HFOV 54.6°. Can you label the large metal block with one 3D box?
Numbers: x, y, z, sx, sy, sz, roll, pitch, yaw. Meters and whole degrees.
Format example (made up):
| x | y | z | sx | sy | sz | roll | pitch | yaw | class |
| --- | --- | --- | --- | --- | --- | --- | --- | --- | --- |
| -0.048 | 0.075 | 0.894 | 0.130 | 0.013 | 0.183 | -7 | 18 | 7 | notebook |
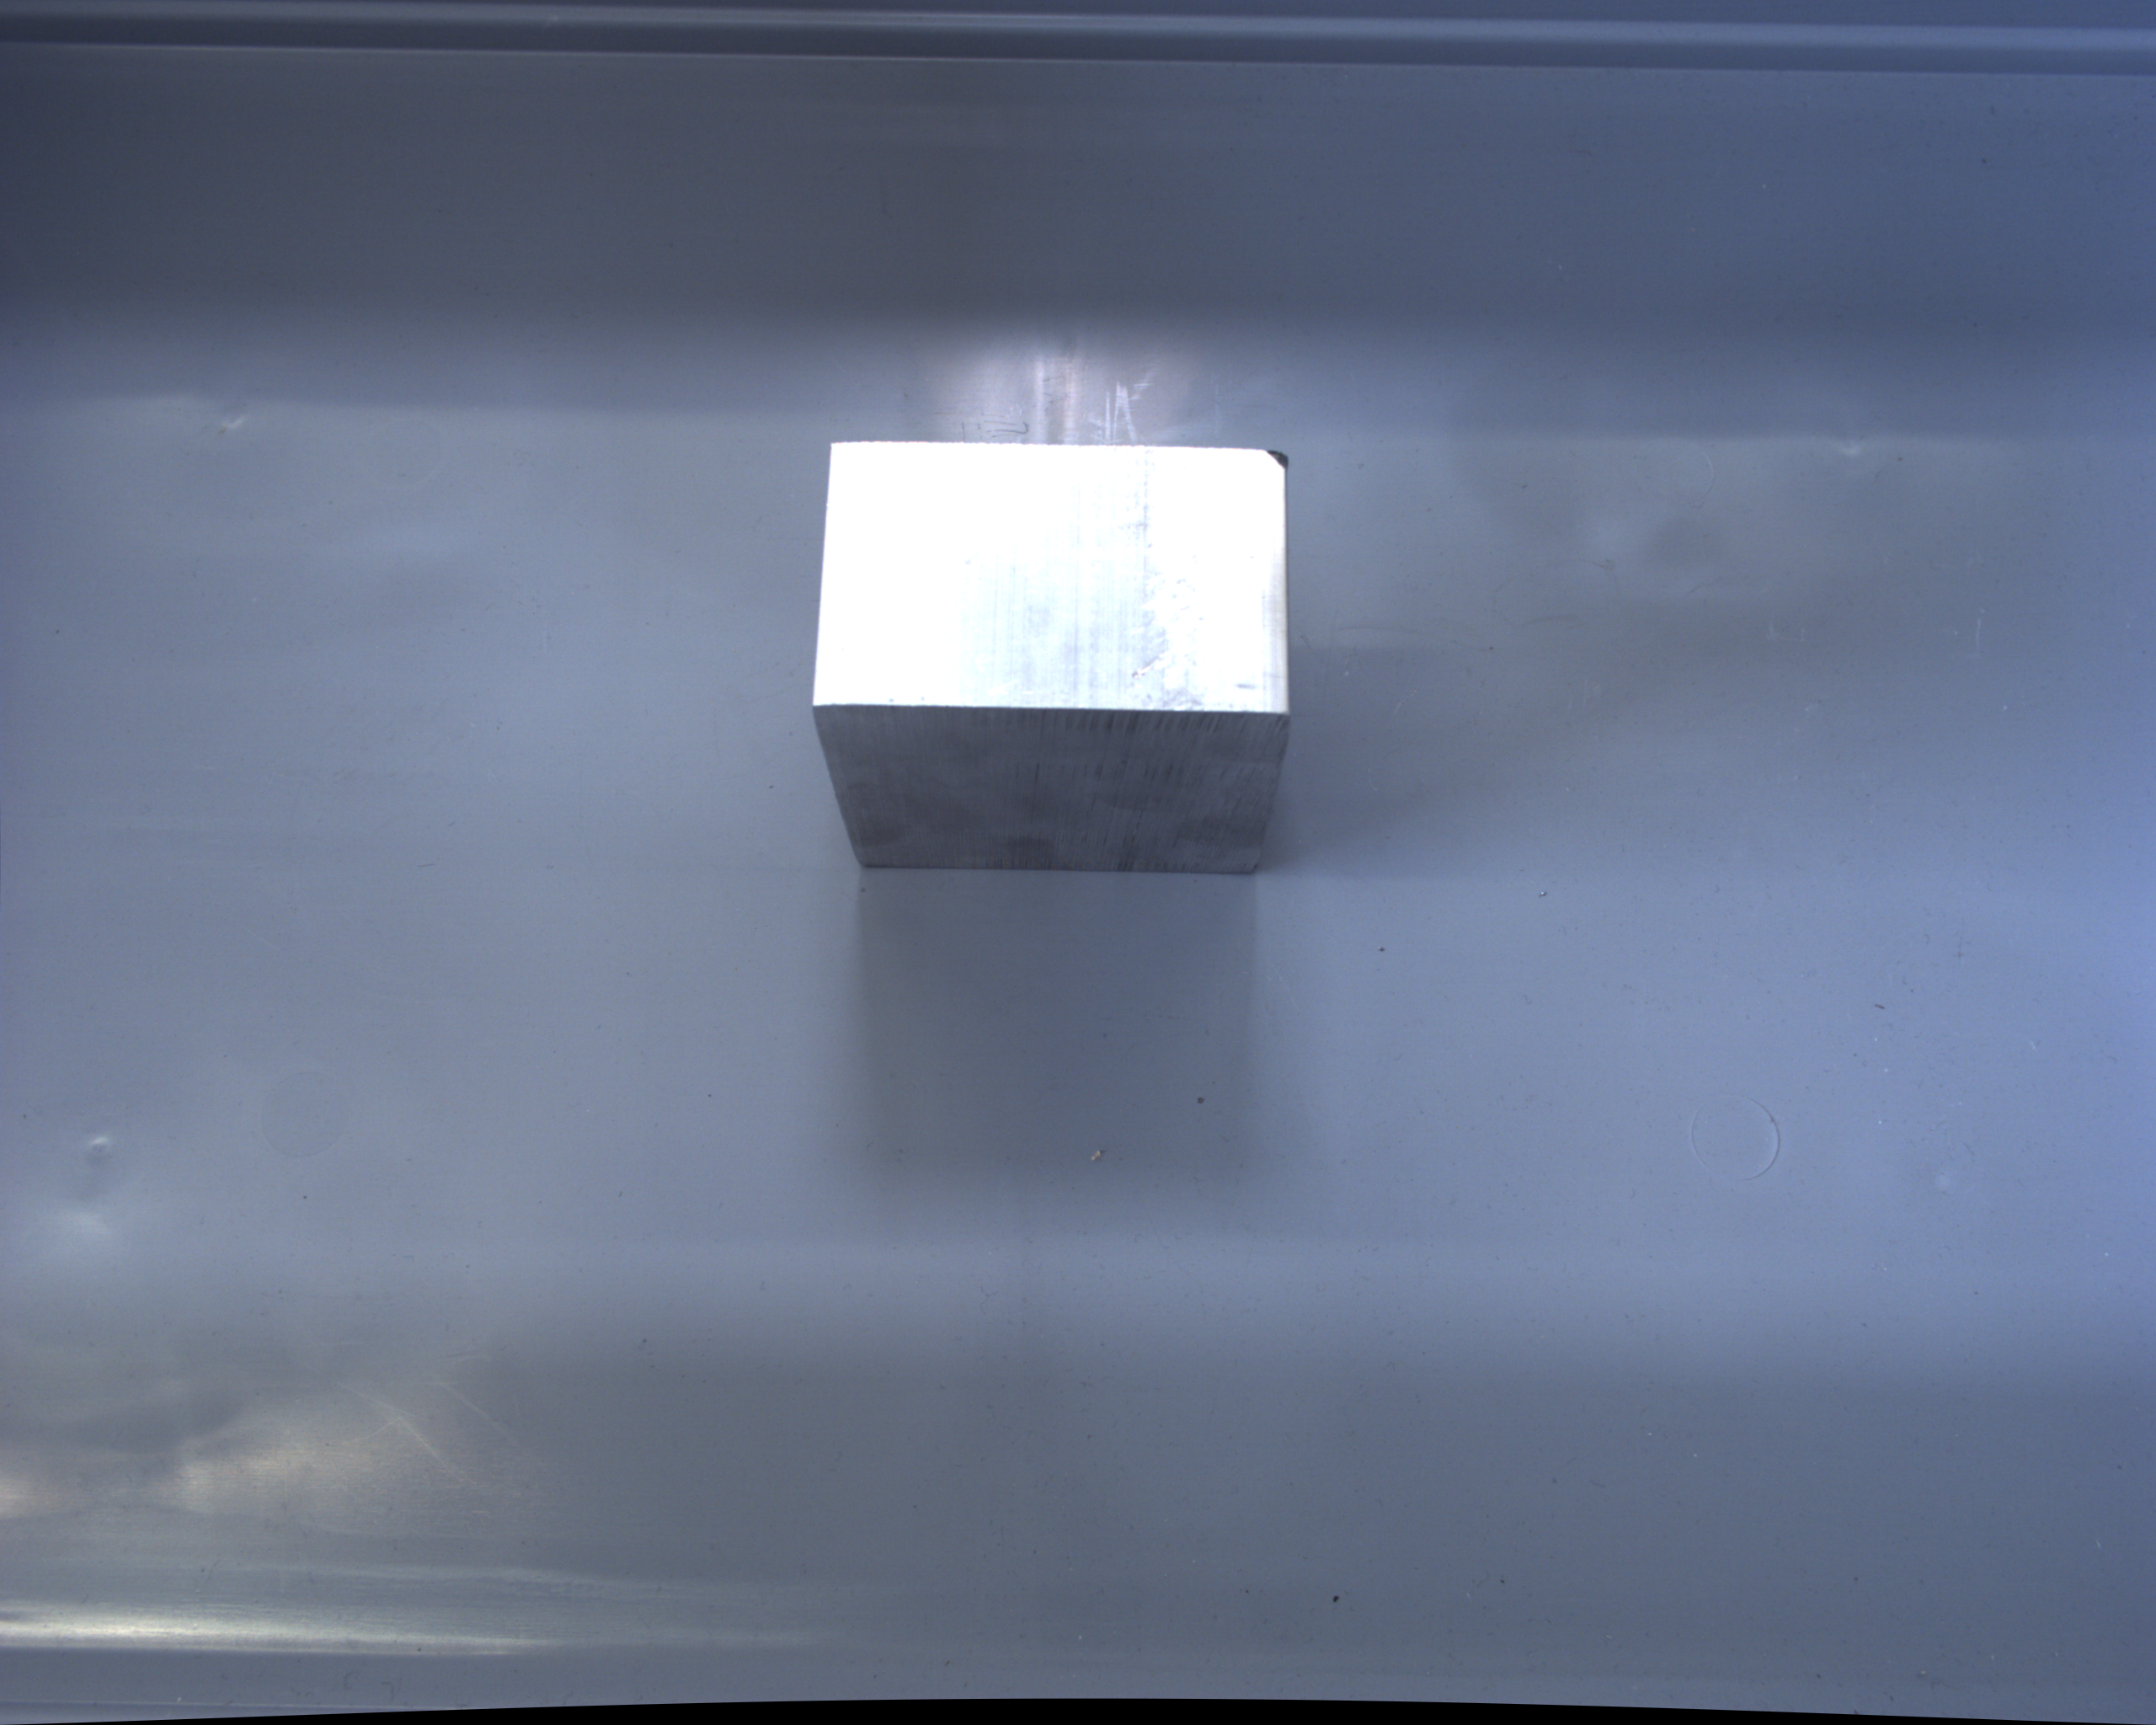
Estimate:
| x | y | z | sx | sy | sz | roll | pitch | yaw | class |
| --- | --- | --- | --- | --- | --- | --- | --- | --- | --- |
| -0.004 | -0.035 | 0.391 | 0.080 | 0.080 | 0.050 | 1 | 70 | 0 | large metal block |
